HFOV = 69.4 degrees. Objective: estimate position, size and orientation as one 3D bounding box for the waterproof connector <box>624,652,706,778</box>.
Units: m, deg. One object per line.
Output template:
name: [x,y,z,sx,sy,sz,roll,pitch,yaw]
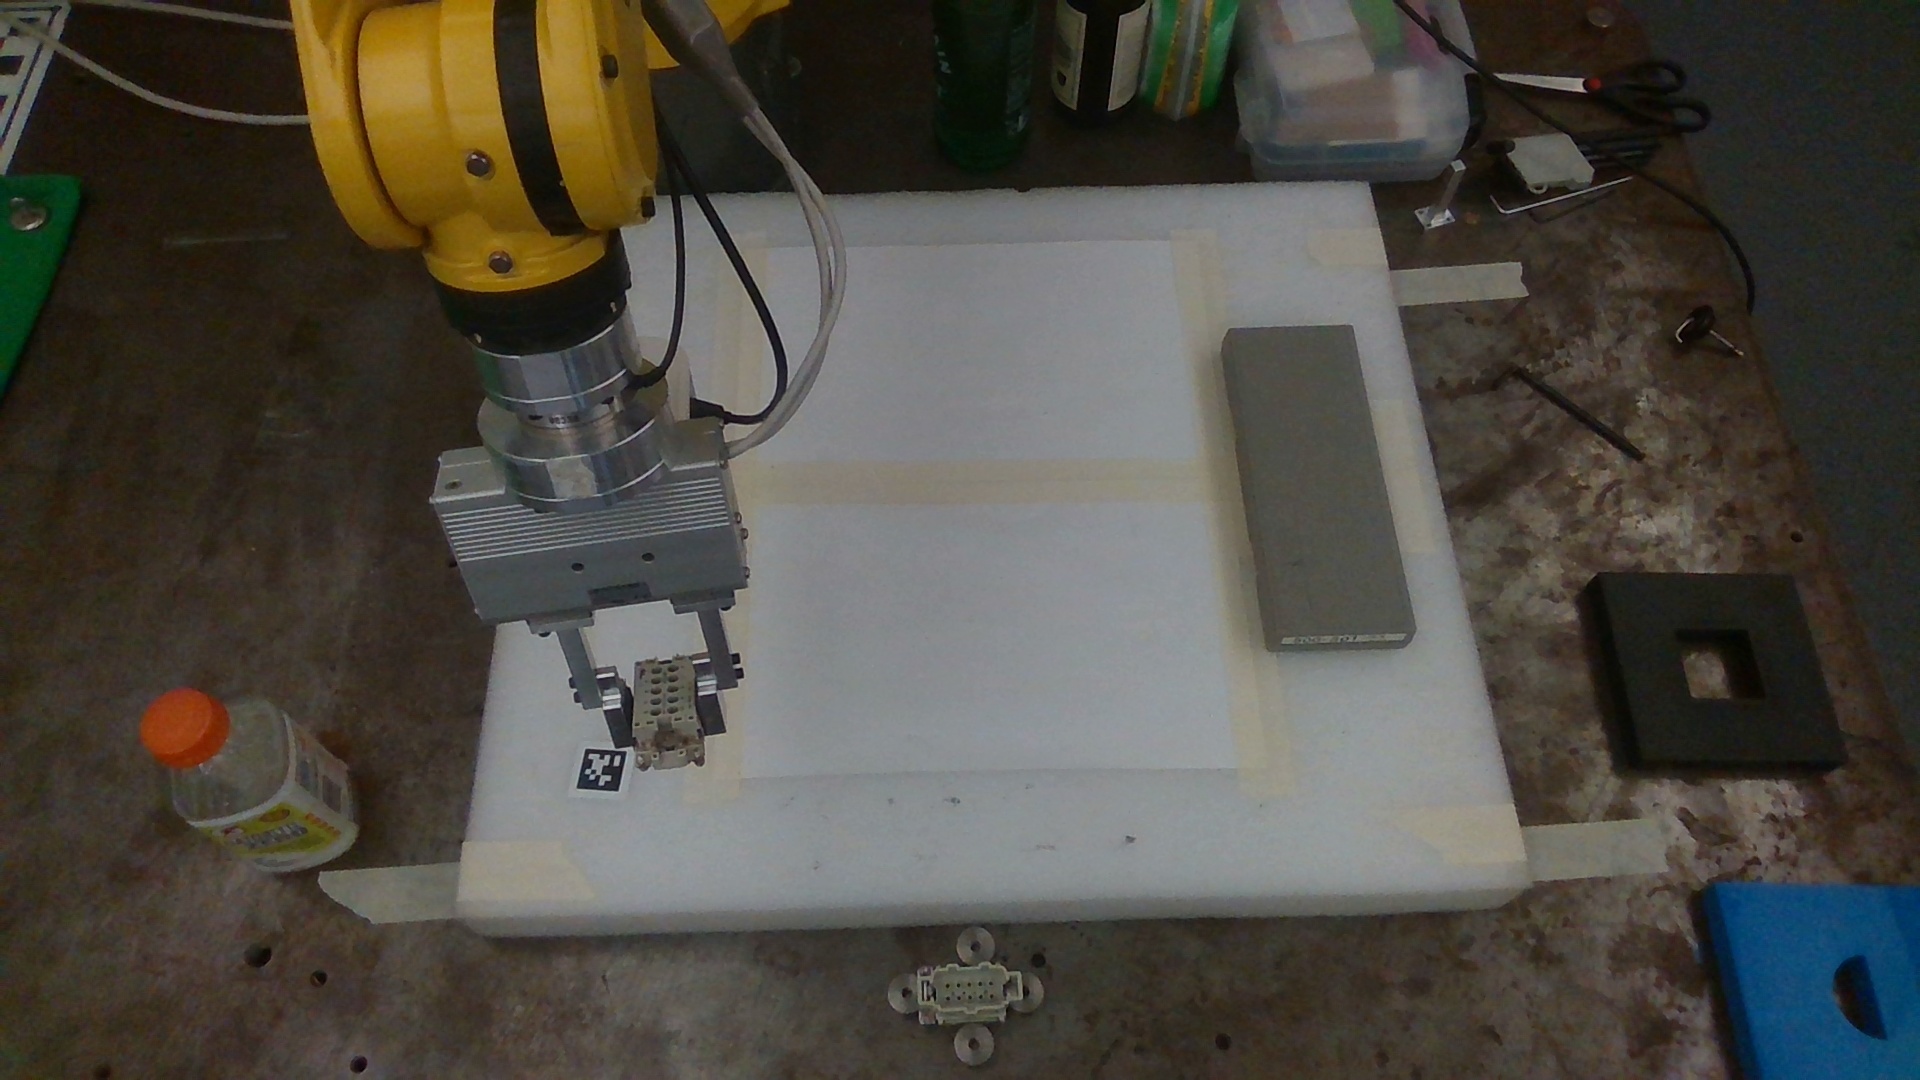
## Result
waterproof connector: [-0.151,0.089,0.715,0.037,0.038,0.069,-7,44,-1]
